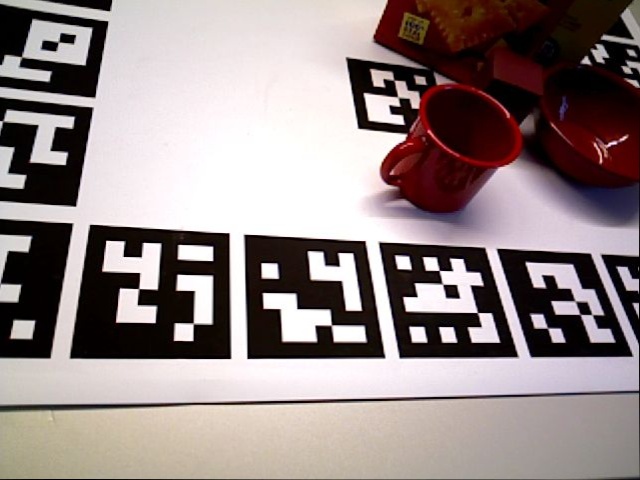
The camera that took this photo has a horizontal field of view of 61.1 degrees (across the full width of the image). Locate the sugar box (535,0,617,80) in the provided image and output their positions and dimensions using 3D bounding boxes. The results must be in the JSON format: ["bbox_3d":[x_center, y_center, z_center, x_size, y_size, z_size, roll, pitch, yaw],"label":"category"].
[{"bbox_3d":[0.260,-0.262,0.571,0.092,0.181,0.044,21,54,-4],"label":"sugar box"}]

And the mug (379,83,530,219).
[{"bbox_3d":[0.103,-0.072,0.457,0.115,0.083,0.092,-6,52,-19],"label":"mug"}]

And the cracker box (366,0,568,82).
[{"bbox_3d":[0.161,-0.266,0.521,0.164,0.219,0.070,28,52,0],"label":"cracker box"}]

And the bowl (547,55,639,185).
[{"bbox_3d":[0.289,-0.110,0.547,0.160,0.056,0.159,8,58,-13],"label":"bowl"}]

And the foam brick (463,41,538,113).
[{"bbox_3d":[0.168,-0.141,0.533,0.052,0.080,0.050,16,54,-7],"label":"foam brick"}]
